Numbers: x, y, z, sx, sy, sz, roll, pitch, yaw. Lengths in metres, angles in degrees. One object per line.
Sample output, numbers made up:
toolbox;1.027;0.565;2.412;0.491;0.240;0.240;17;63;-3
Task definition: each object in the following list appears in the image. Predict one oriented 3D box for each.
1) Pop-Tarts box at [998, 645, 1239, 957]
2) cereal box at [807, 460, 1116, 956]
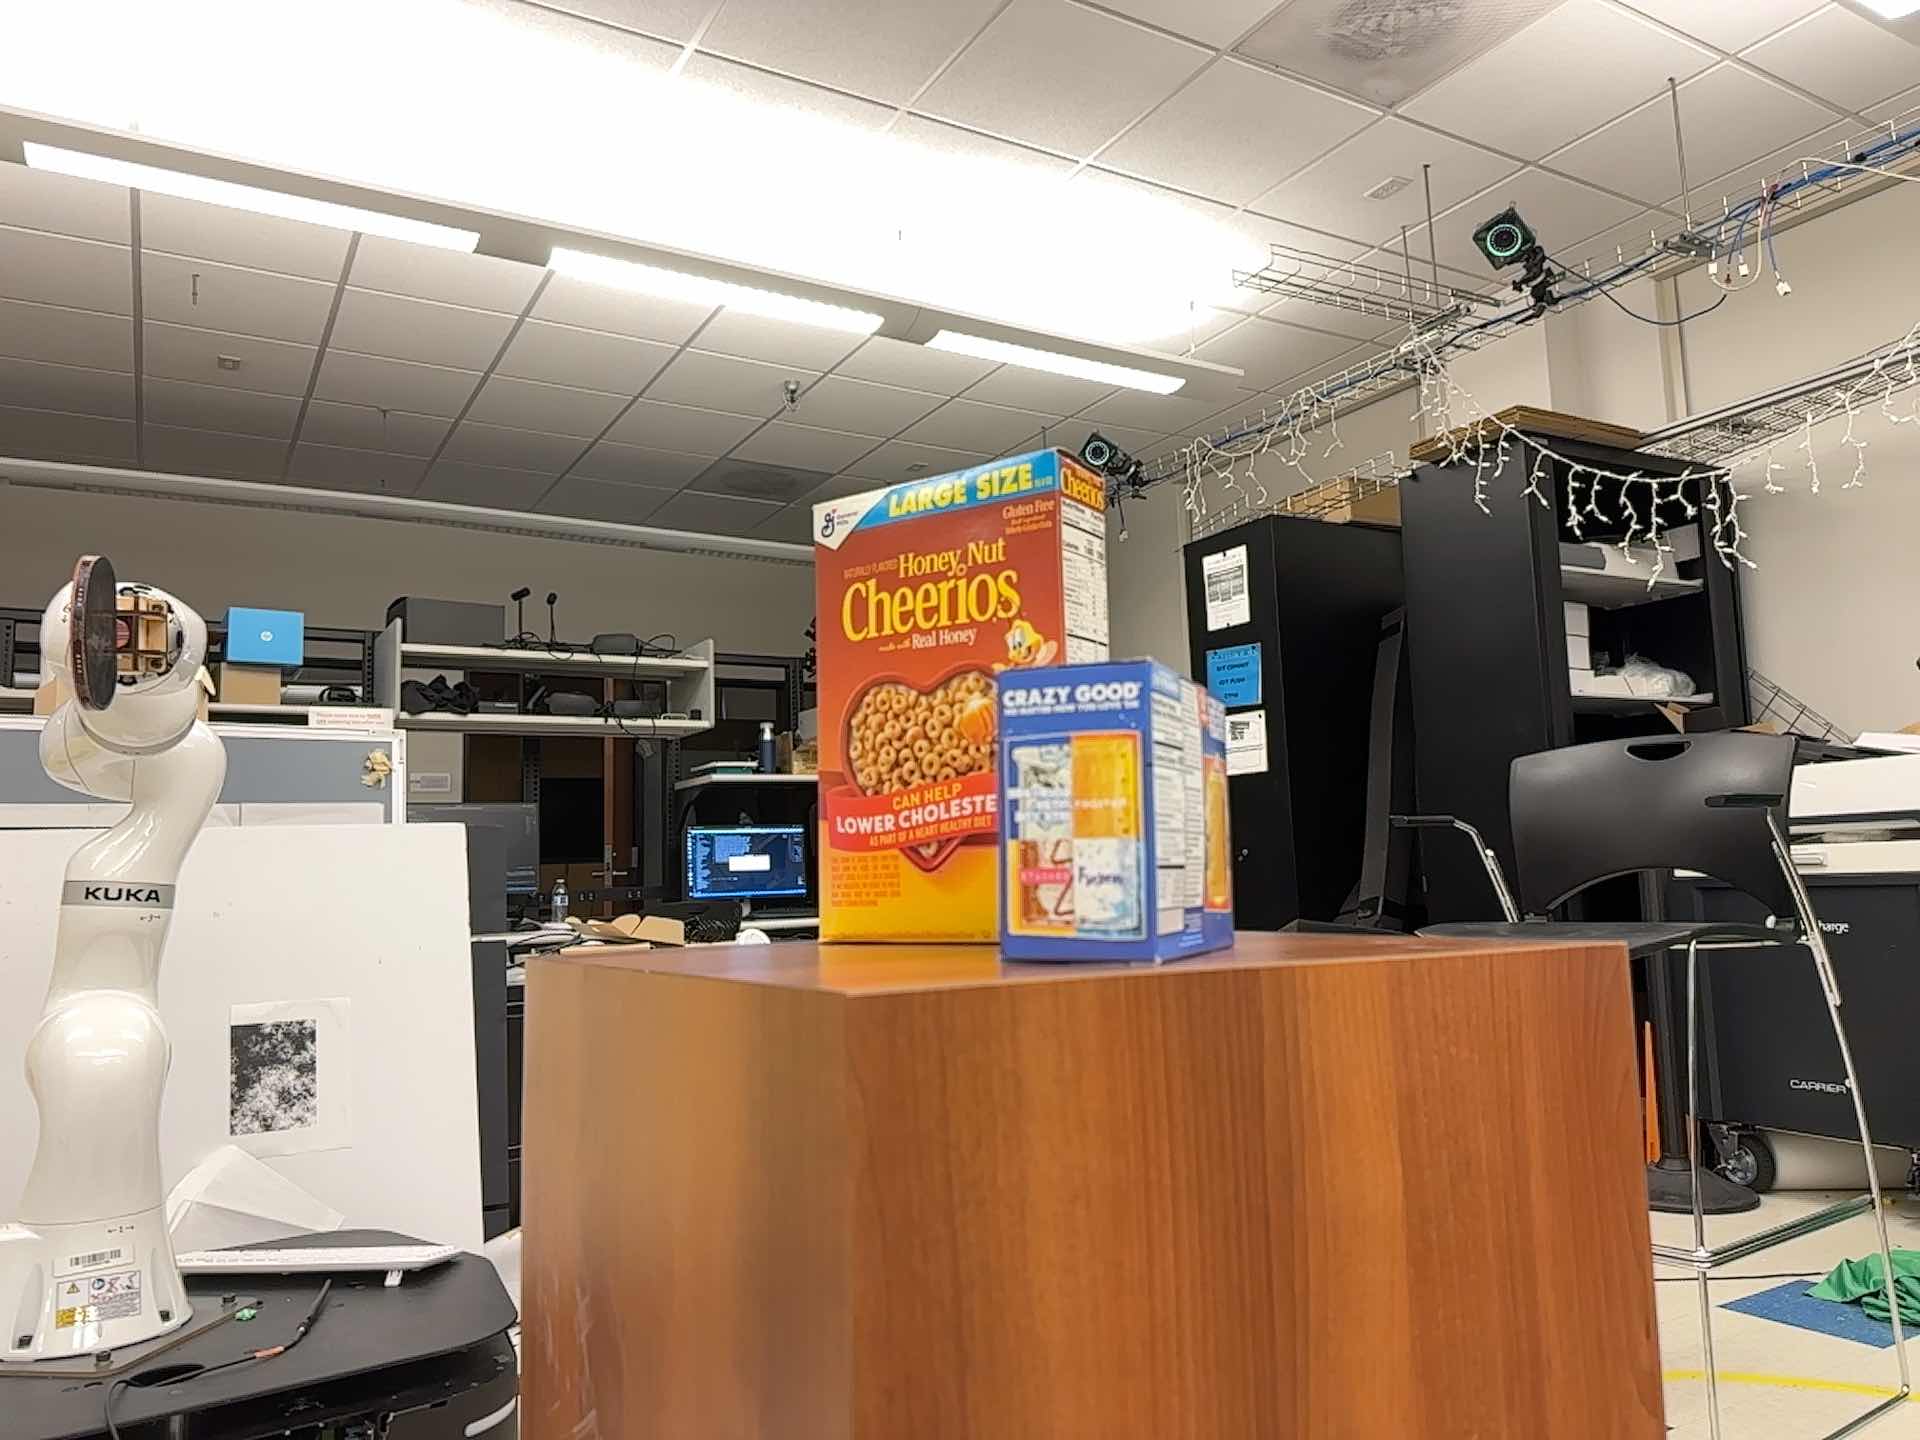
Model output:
Pop-Tarts box;0.084;0.048;0.686;0.075;0.135;0.161;-4;-9;21
cereal box;-0.003;0.000;0.893;0.195;0.297;0.065;-6;-10;30
